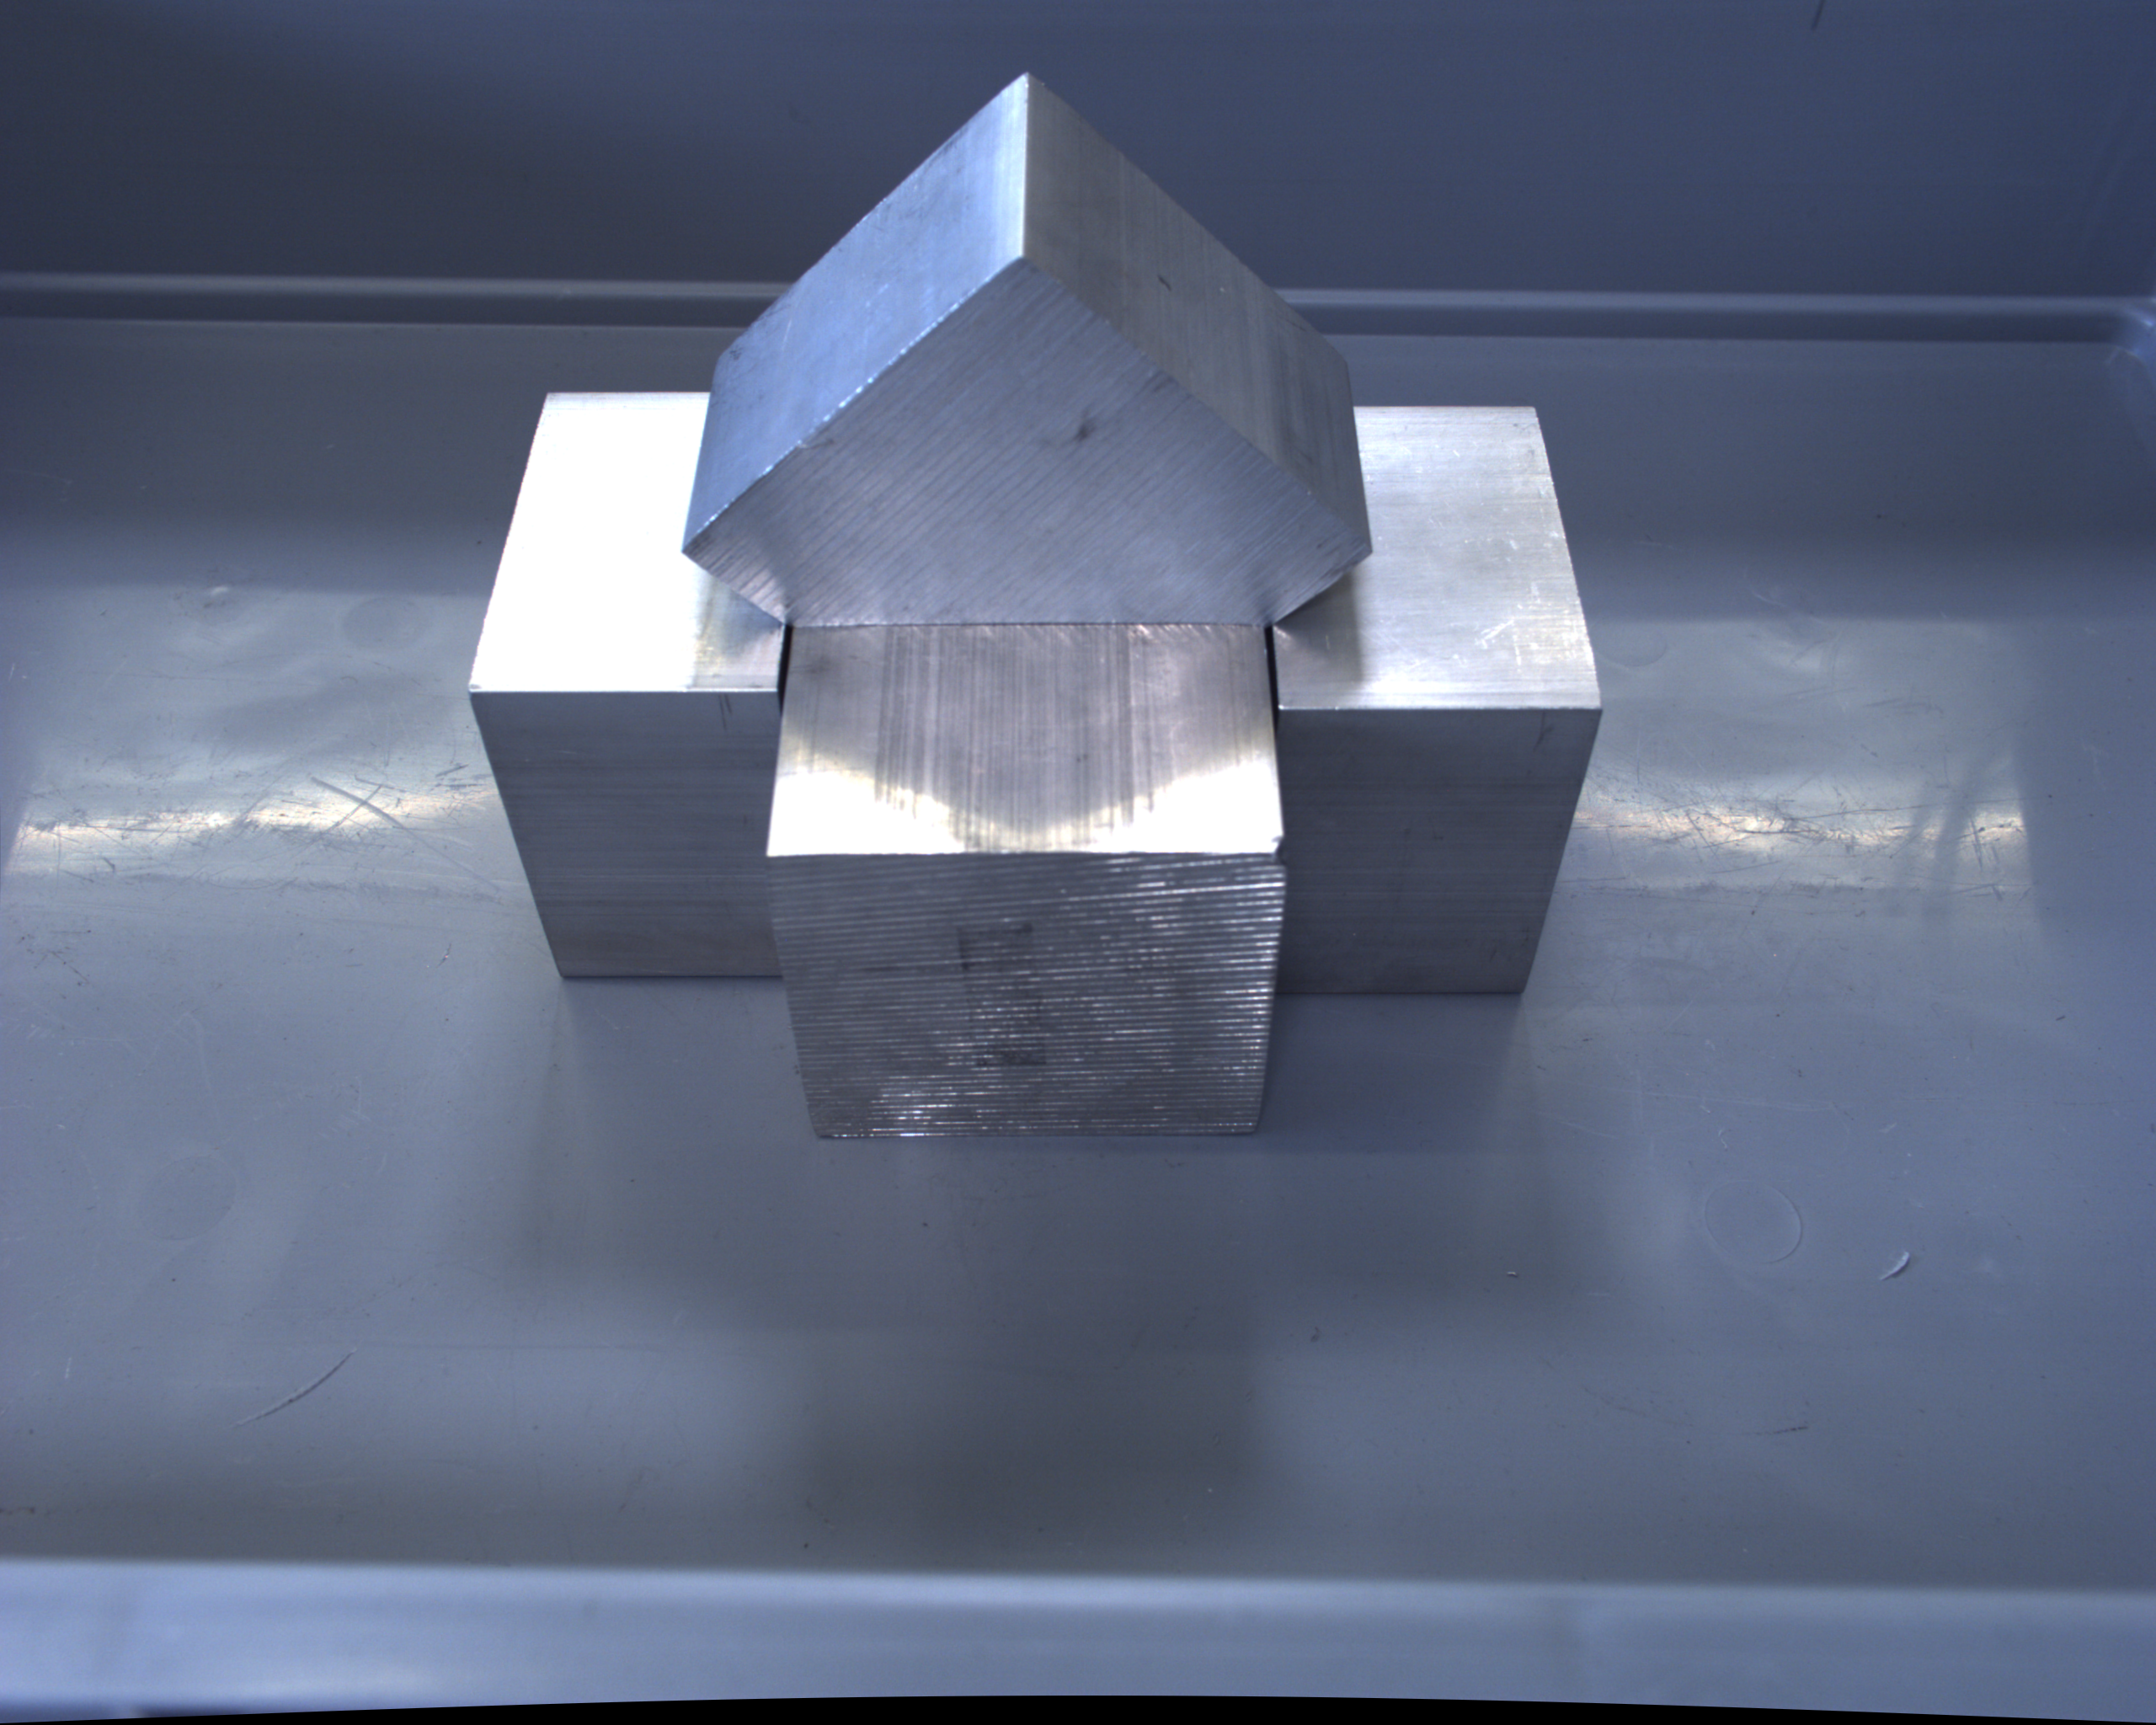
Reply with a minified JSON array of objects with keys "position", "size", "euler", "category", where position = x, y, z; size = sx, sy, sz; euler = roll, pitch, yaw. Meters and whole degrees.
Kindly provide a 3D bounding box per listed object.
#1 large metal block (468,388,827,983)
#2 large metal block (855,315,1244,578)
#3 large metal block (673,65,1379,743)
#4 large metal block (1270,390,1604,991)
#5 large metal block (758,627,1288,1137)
[{"position":[-0.074,-0.033,0.395],"size":[0.050,0.080,0.080],"euler":[0,50,0],"category":"large metal block"},{"position":[-0.008,-0.072,0.428],"size":[0.081,0.080,0.050],"euler":[0,50,0],"category":"large metal block"},{"position":[-0.008,-0.069,0.352],"size":[0.080,0.080,0.050],"euler":[33,40,-33],"category":"large metal block"},{"position":[0.059,-0.032,0.392],"size":[0.050,0.080,0.080],"euler":[0,50,0],"category":"large metal block"},{"position":[-0.008,0.005,0.363],"size":[0.081,0.080,0.050],"euler":[0,50,0],"category":"large metal block"}]
